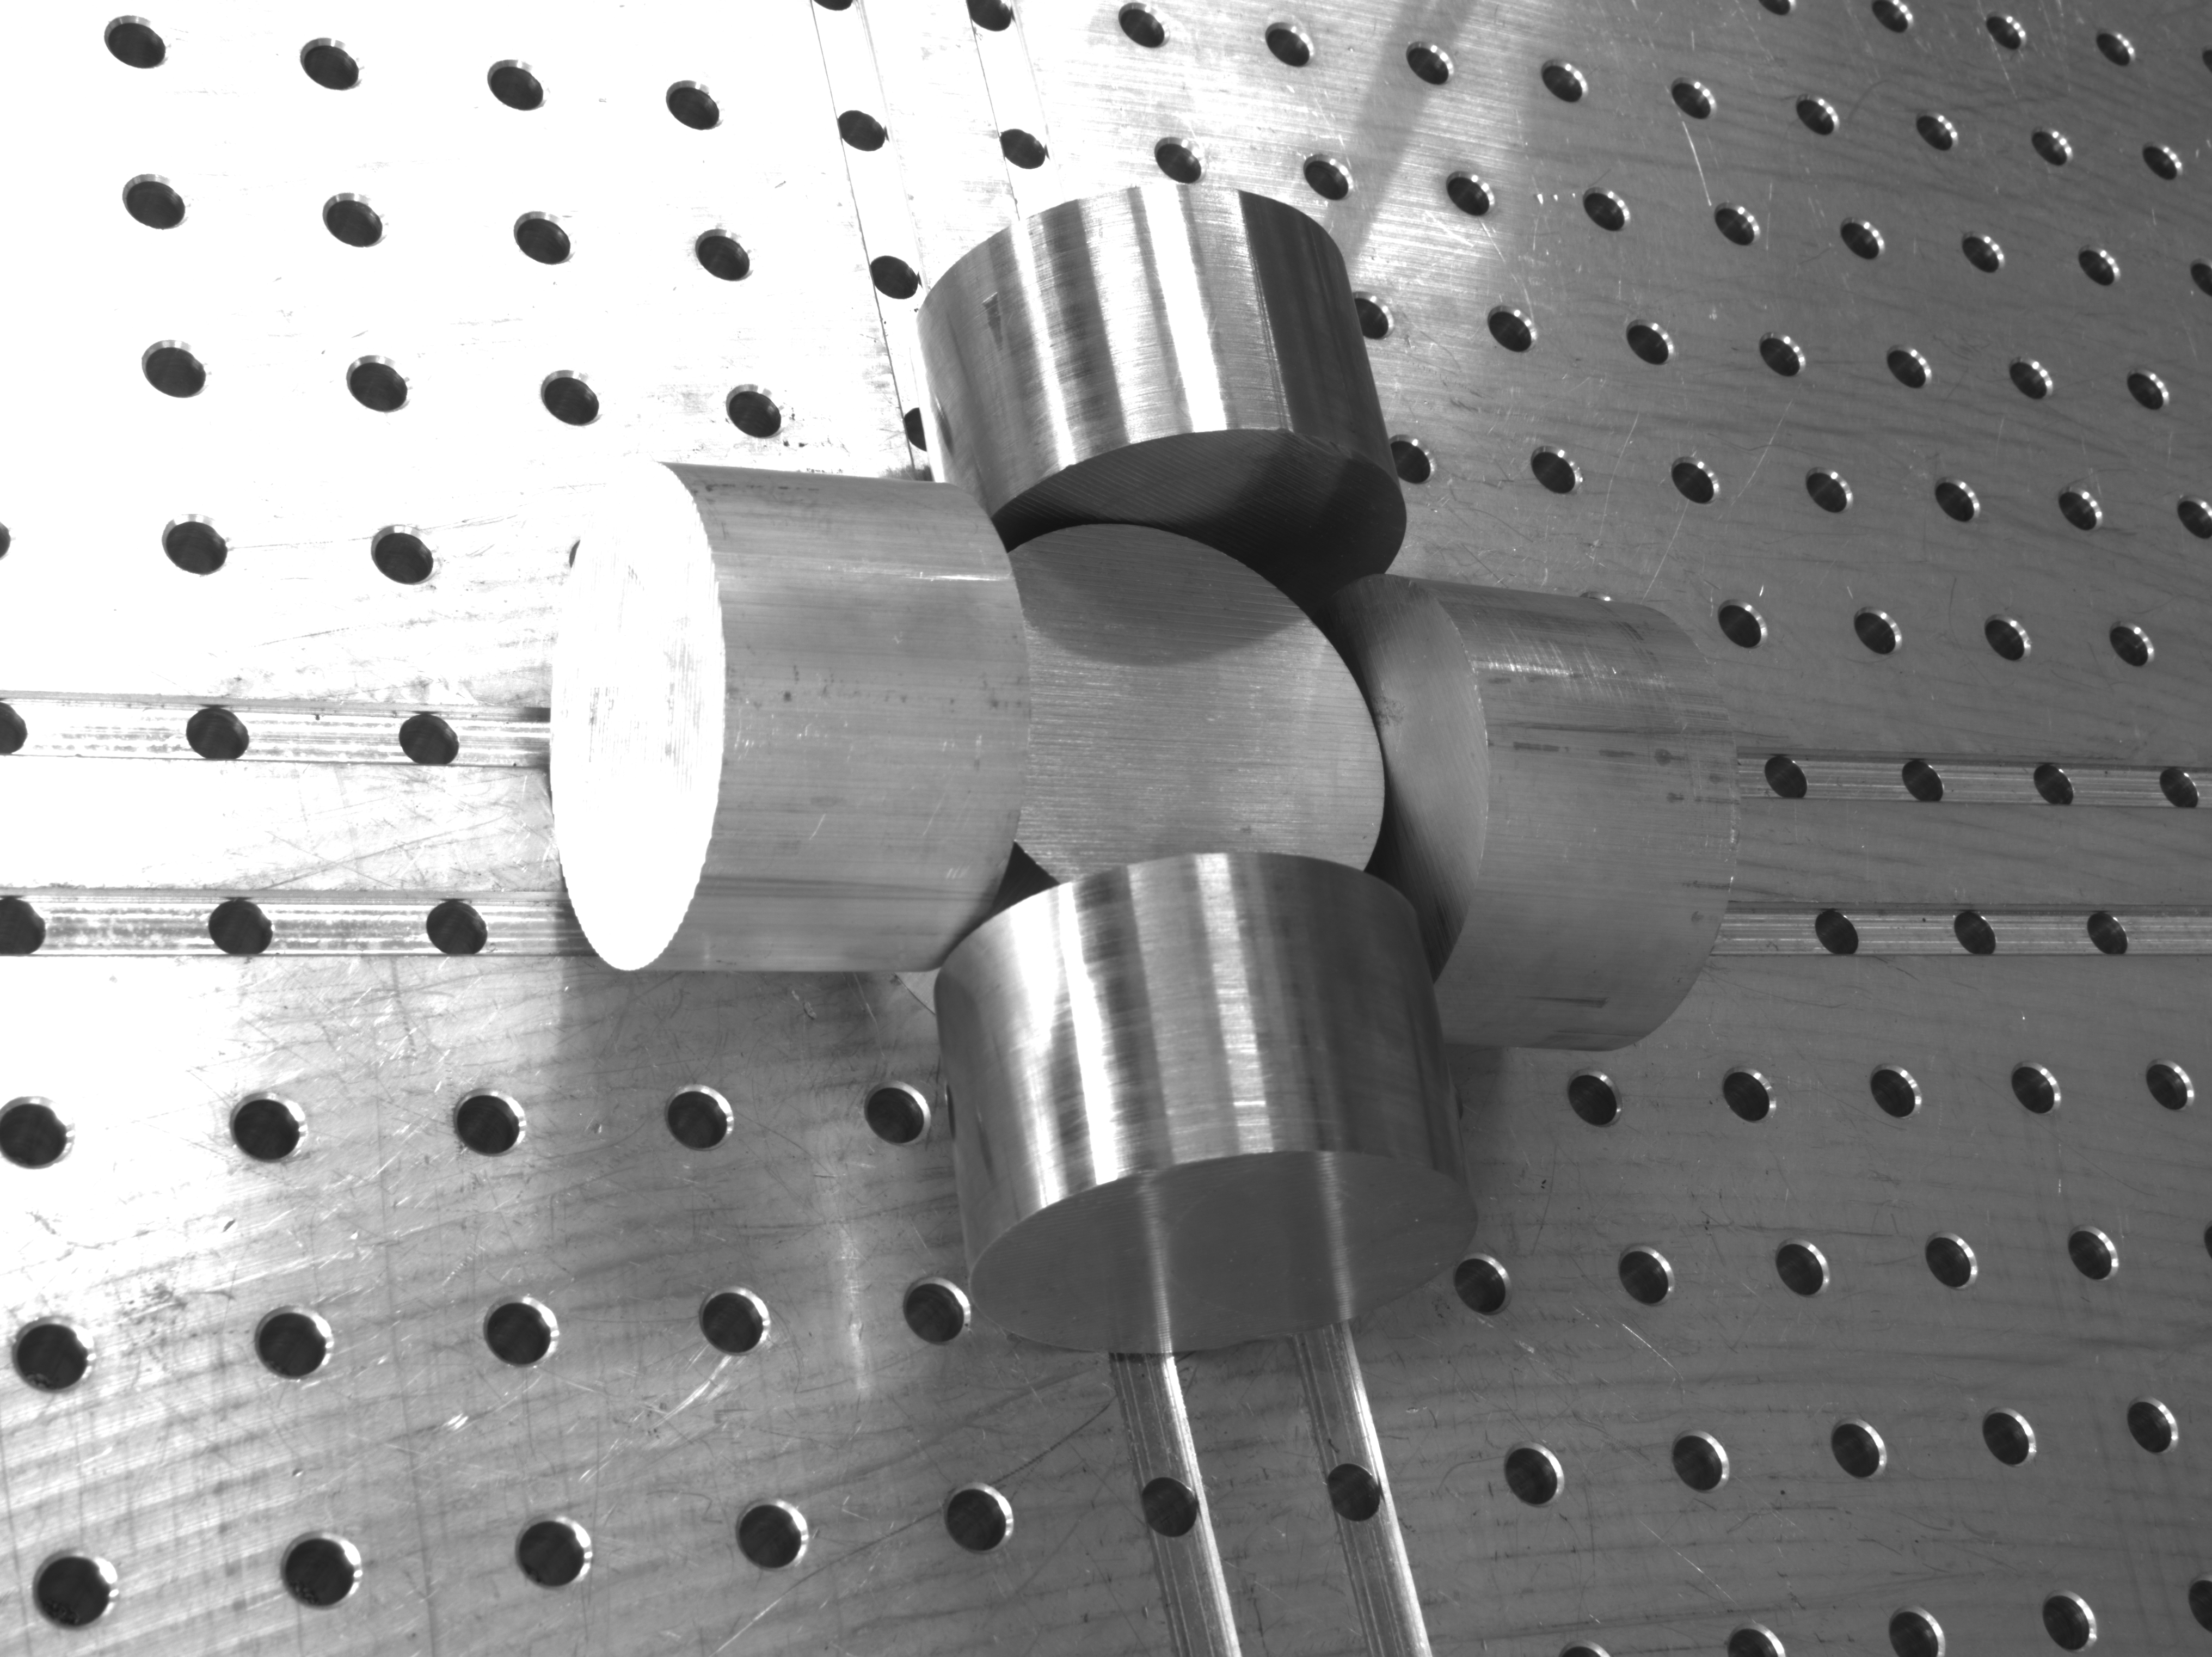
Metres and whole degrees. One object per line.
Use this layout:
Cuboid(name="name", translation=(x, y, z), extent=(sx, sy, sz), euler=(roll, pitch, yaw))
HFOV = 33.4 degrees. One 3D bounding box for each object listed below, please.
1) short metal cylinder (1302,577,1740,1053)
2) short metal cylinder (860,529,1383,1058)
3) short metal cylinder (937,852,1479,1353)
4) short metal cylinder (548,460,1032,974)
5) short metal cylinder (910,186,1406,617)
Cuboid(name="short metal cylinder", translation=(0.066, -0.002, 0.645), extent=(0.050, 0.080, 0.080), euler=(4, 60, -26))
Cuboid(name="short metal cylinder", translation=(0.000, -0.004, 0.630), extent=(0.080, 0.050, 0.080), euler=(14, 55, -21))
Cuboid(name="short metal cylinder", translation=(0.015, 0.045, 0.587), extent=(0.080, 0.080, 0.050), euler=(6, 58, -25))
Cuboid(name="short metal cylinder", translation=(-0.052, -0.017, 0.590), extent=(0.050, 0.080, 0.080), euler=(2, 61, -28))
Cuboid(name="short metal cylinder", translation=(0.009, -0.069, 0.654), extent=(0.080, 0.080, 0.050), euler=(3, 60, -27))
